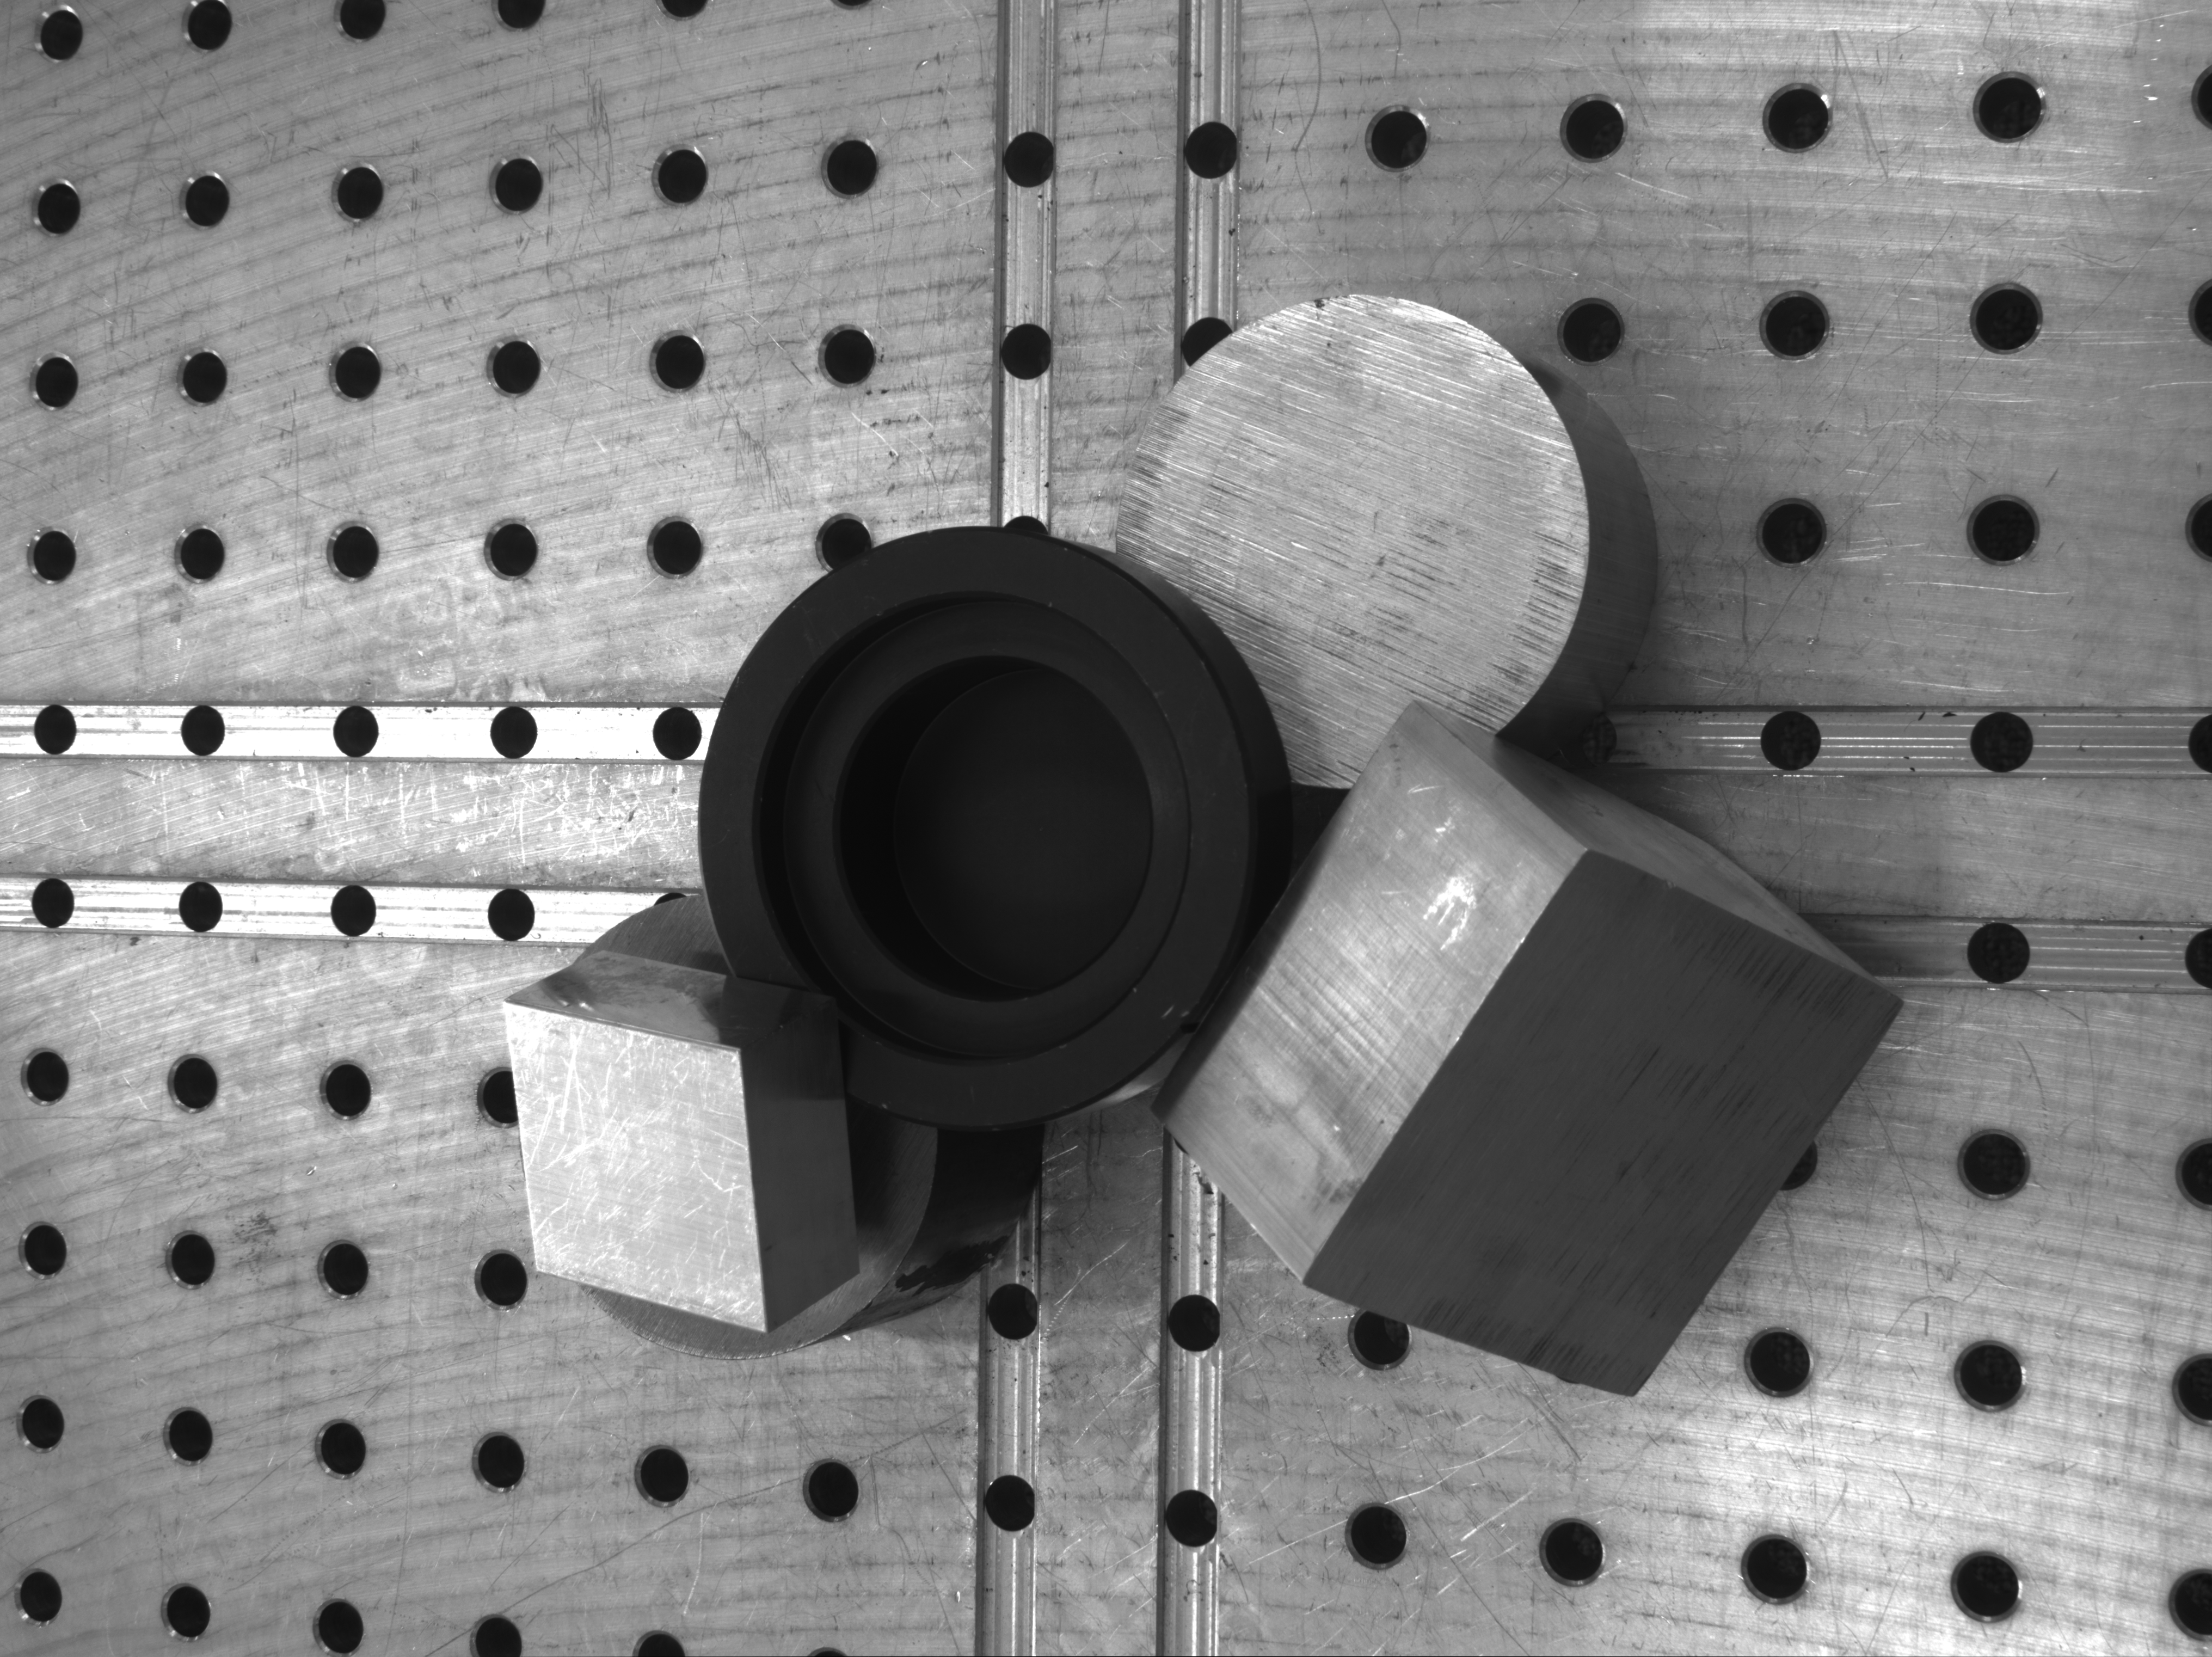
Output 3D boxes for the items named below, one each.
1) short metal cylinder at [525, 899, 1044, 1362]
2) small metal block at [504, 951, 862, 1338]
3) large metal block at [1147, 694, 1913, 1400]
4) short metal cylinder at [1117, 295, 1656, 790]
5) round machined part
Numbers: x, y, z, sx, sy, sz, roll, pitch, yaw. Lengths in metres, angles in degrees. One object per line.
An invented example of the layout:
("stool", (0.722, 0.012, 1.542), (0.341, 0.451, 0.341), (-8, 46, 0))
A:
("short metal cylinder", (-0.057, 0.052, 0.657), (0.080, 0.050, 0.080), (0, 90, 20))
("small metal block", (-0.070, 0.051, 0.608), (0.050, 0.025, 0.050), (9, 113, 32))
("large metal block", (0.068, 0.036, 0.588), (0.080, 0.080, 0.050), (-58, 39, 11))
("short metal cylinder", (0.048, -0.046, 0.619), (0.080, 0.050, 0.080), (0, 90, 20))
("round machined part", (-0.015, 0.000, 0.615), (0.098, 0.042, 0.098), (0, 90, 20))
